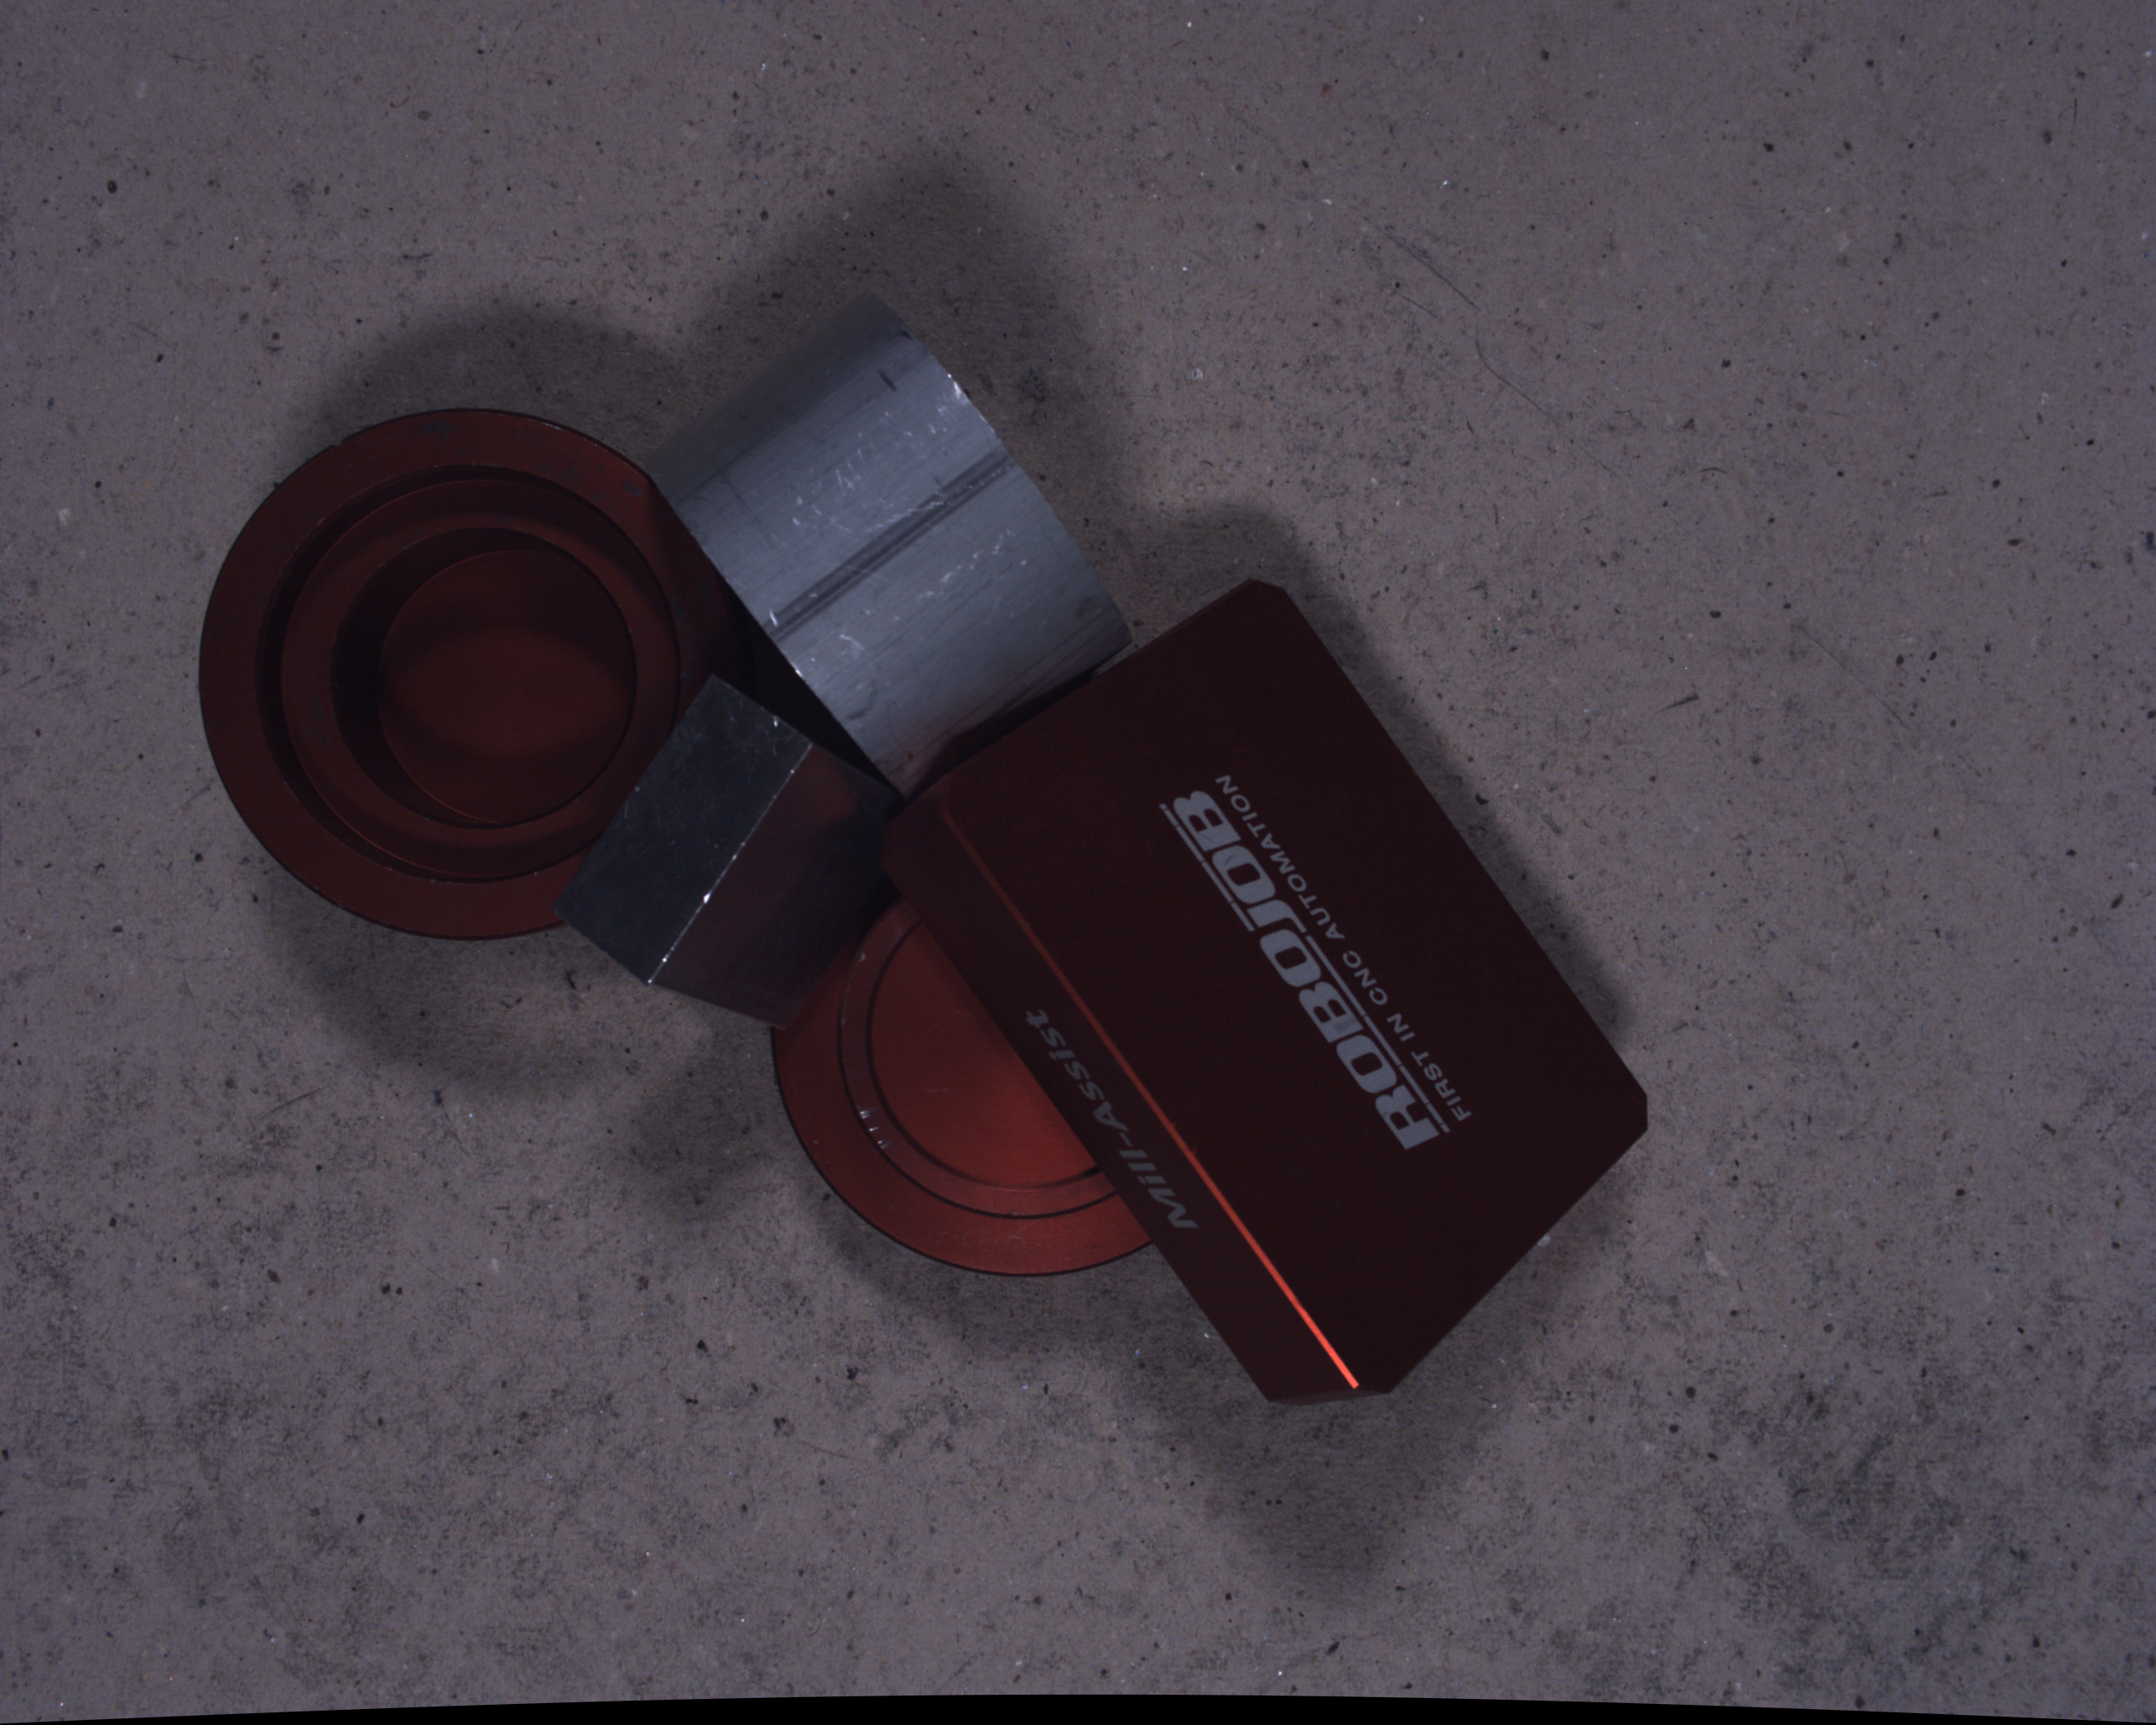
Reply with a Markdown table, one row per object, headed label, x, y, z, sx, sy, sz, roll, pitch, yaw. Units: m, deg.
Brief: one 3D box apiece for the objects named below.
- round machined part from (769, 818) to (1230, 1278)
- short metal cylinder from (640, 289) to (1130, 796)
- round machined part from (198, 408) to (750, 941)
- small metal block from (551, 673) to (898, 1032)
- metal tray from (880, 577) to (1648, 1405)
| label | x | y | z | sx | sy | sz | roll | pitch | yaw |
| --- | --- | --- | --- | --- | --- | --- | --- | --- | --- |
| round machined part | -0.011 | 0.032 | 0.402 | 0.099 | 0.042 | 0.097 | 0 | 90 | -1 |
| short metal cylinder | -0.035 | -0.057 | 0.384 | 0.050 | 0.080 | 0.080 | -38 | 90 | 0 |
| round machined part | -0.111 | -0.035 | 0.401 | 0.099 | 0.042 | 0.097 | 0 | 90 | -1 |
| small metal block | -0.060 | 0.000 | 0.380 | 0.025 | 0.050 | 0.050 | 33 | 90 | 24 |
| metal tray | 0.037 | 0.022 | 0.387 | 0.091 | 0.030 | 0.130 | -36 | 90 | -32 |
